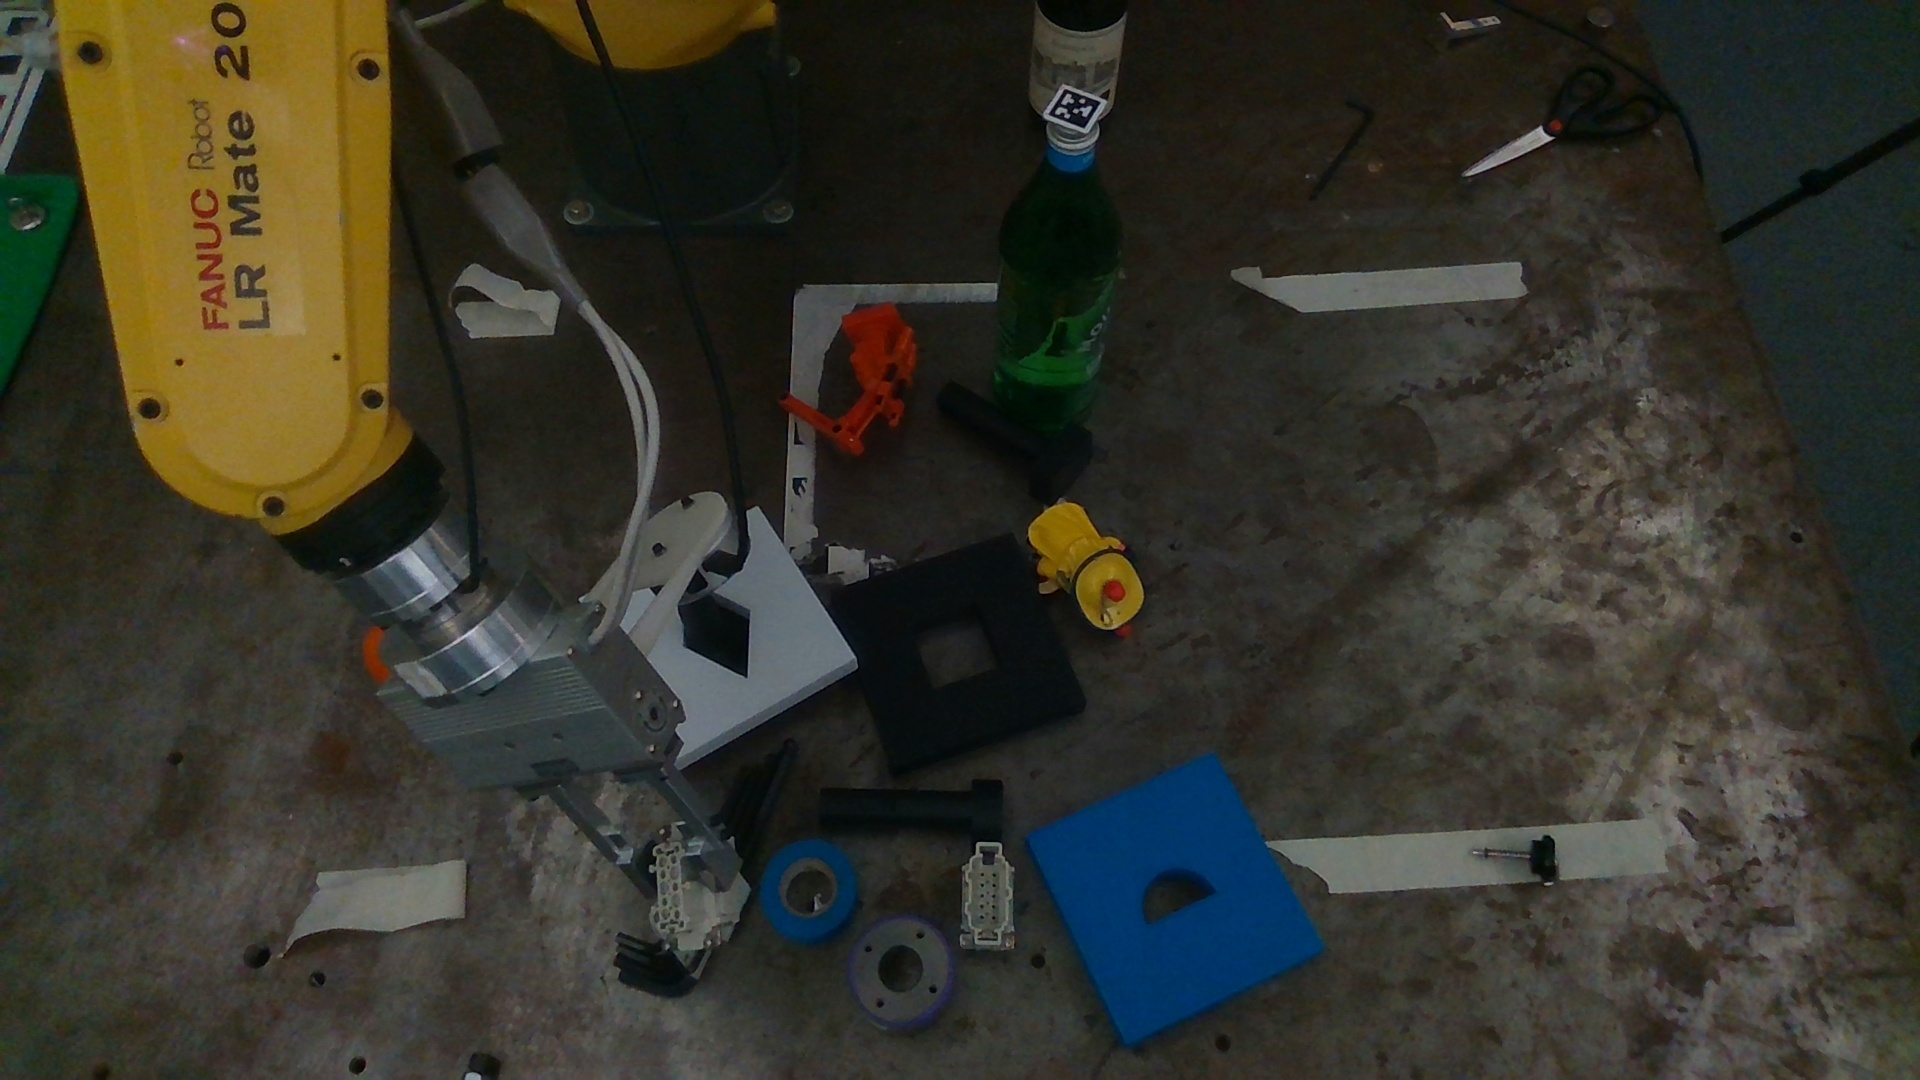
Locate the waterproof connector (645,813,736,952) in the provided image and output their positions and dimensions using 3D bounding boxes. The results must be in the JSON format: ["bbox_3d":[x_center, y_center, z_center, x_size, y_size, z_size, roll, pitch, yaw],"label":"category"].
[{"bbox_3d":[-0.142,0.178,0.721,0.037,0.038,0.069,-13,70,24],"label":"waterproof connector"}]
